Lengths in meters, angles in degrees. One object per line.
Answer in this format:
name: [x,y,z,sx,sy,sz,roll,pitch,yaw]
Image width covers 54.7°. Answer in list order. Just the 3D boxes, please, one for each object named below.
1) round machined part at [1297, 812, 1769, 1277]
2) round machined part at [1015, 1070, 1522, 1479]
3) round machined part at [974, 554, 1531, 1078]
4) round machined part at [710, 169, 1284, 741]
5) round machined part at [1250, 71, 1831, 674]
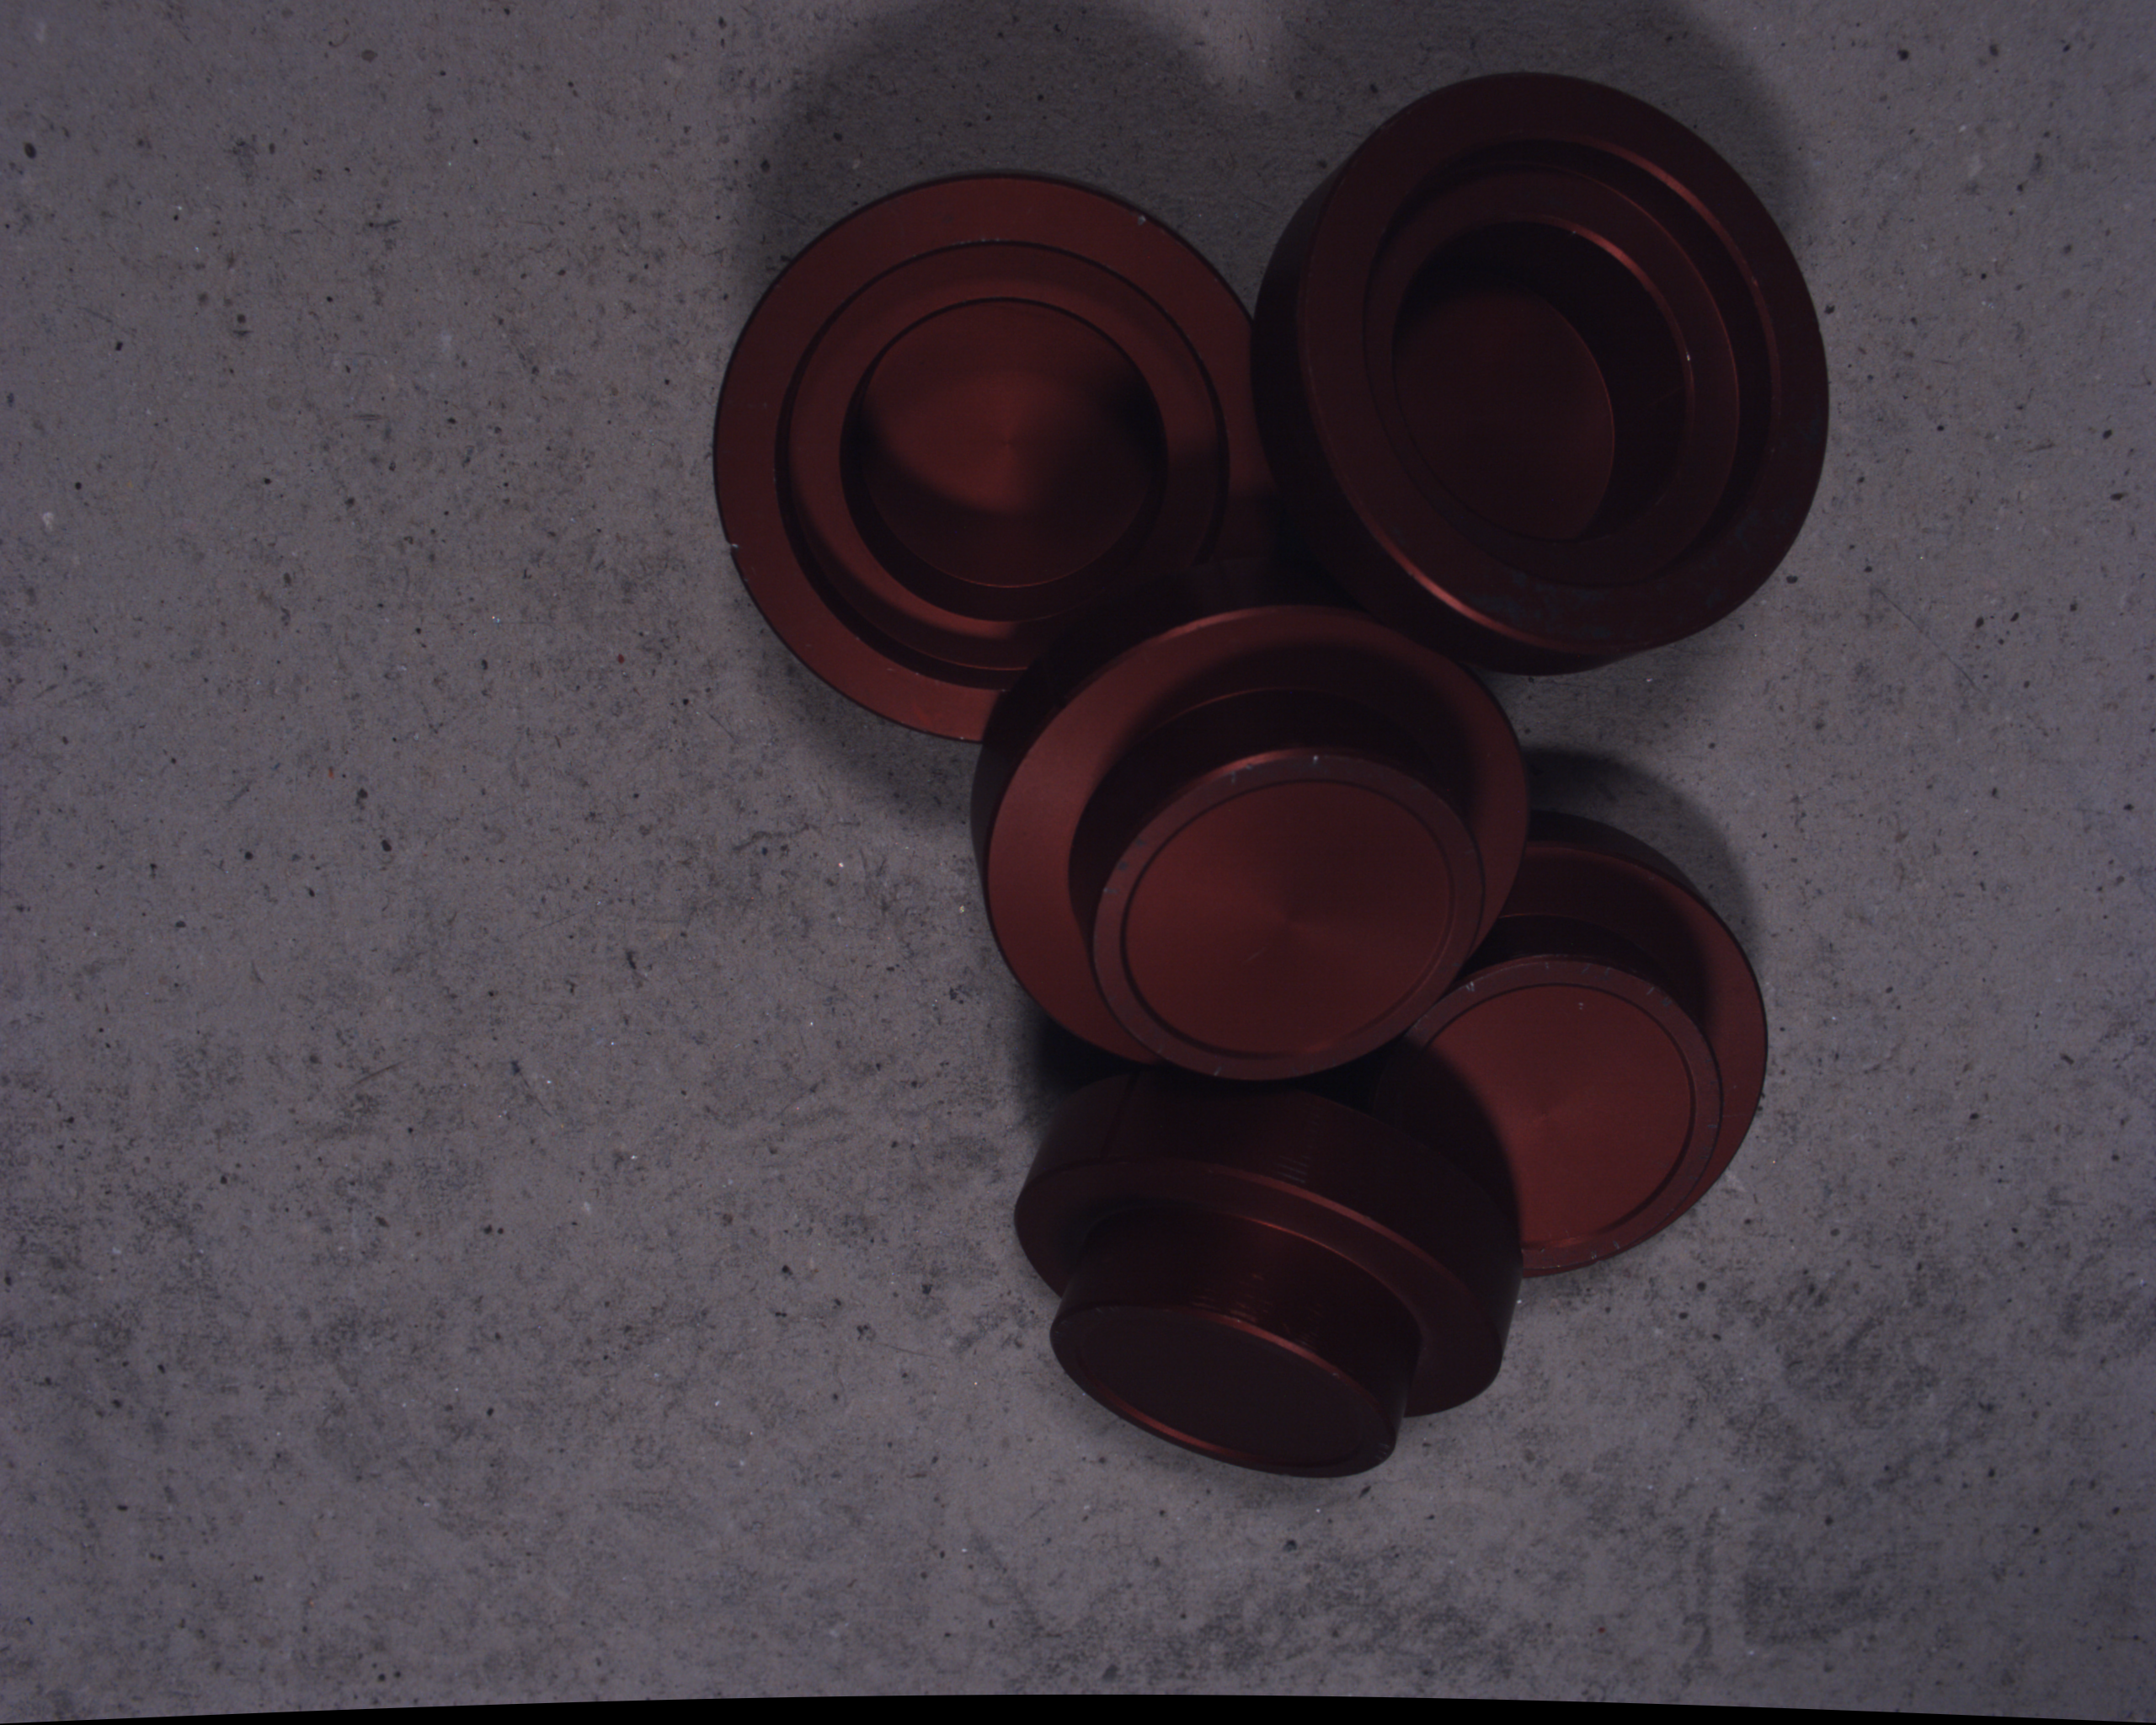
round machined part: [0.090,0.042,0.419,0.099,0.042,0.097,0,110,-1]
round machined part: [0.033,0.085,0.407,0.098,0.042,0.097,16,145,11]
round machined part: [0.032,-0.001,0.367,0.099,0.042,0.097,-5,121,-7]
round machined part: [-0.013,-0.074,0.375,0.099,0.042,0.097,0,110,-1]
round machined part: [0.075,-0.080,0.359,0.099,0.042,0.097,2,83,-18]
